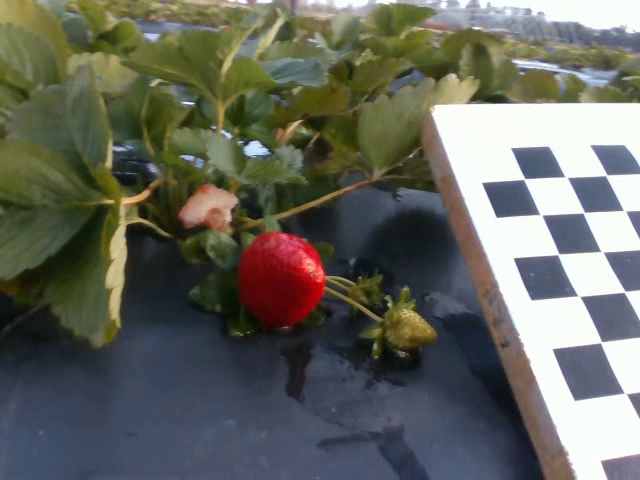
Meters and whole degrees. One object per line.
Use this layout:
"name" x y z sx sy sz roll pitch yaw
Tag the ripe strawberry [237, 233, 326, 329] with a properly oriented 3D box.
"ripe strawberry" -0.012 0.016 0.274 0.043 0.052 0.057 -29 1 -21
